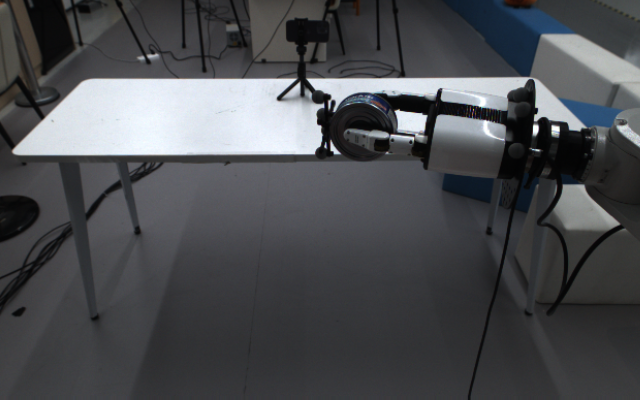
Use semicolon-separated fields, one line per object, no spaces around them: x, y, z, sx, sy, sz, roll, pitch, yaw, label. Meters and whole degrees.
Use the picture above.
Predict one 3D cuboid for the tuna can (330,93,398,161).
0.059;-0.093;0.628;0.085;0.085;0.034;9;32;10;tuna can
